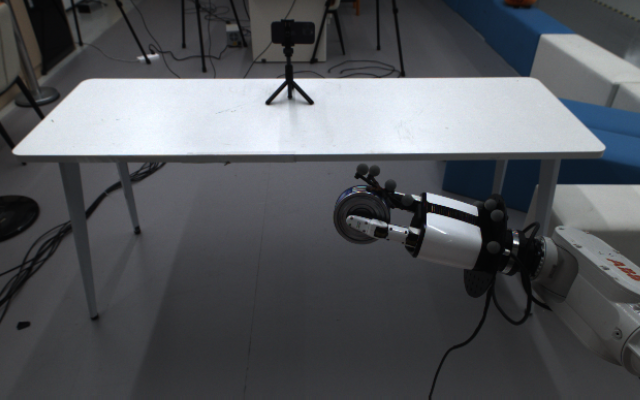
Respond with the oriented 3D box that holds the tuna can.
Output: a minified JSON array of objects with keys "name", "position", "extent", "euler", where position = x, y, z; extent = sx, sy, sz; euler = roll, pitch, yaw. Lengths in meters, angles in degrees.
[{"name":"tuna can","position":[0.066,0.029,0.722],"extent":[0.085,0.085,0.034],"euler":[7,19,6]}]
